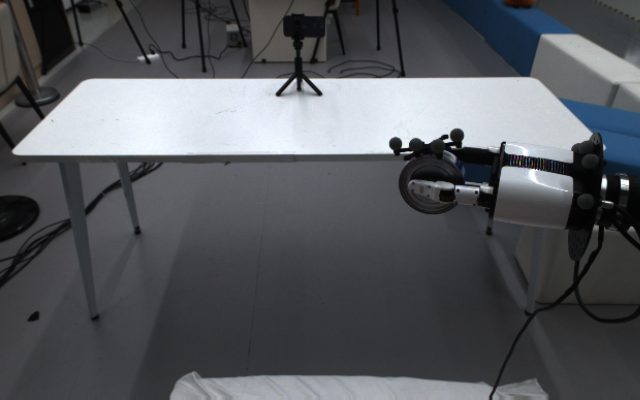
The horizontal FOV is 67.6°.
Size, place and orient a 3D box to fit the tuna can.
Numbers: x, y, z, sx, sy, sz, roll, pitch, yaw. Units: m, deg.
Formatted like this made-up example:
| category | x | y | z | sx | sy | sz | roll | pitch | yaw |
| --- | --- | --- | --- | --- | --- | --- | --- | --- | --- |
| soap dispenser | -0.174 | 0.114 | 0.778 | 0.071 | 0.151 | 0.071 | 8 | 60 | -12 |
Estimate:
| category | x | y | z | sx | sy | sz | roll | pitch | yaw |
| --- | --- | --- | --- | --- | --- | --- | --- | --- | --- |
| tuna can | 0.153 | -0.027 | 0.651 | 0.085 | 0.085 | 0.034 | 13 | 28 | 15 |
